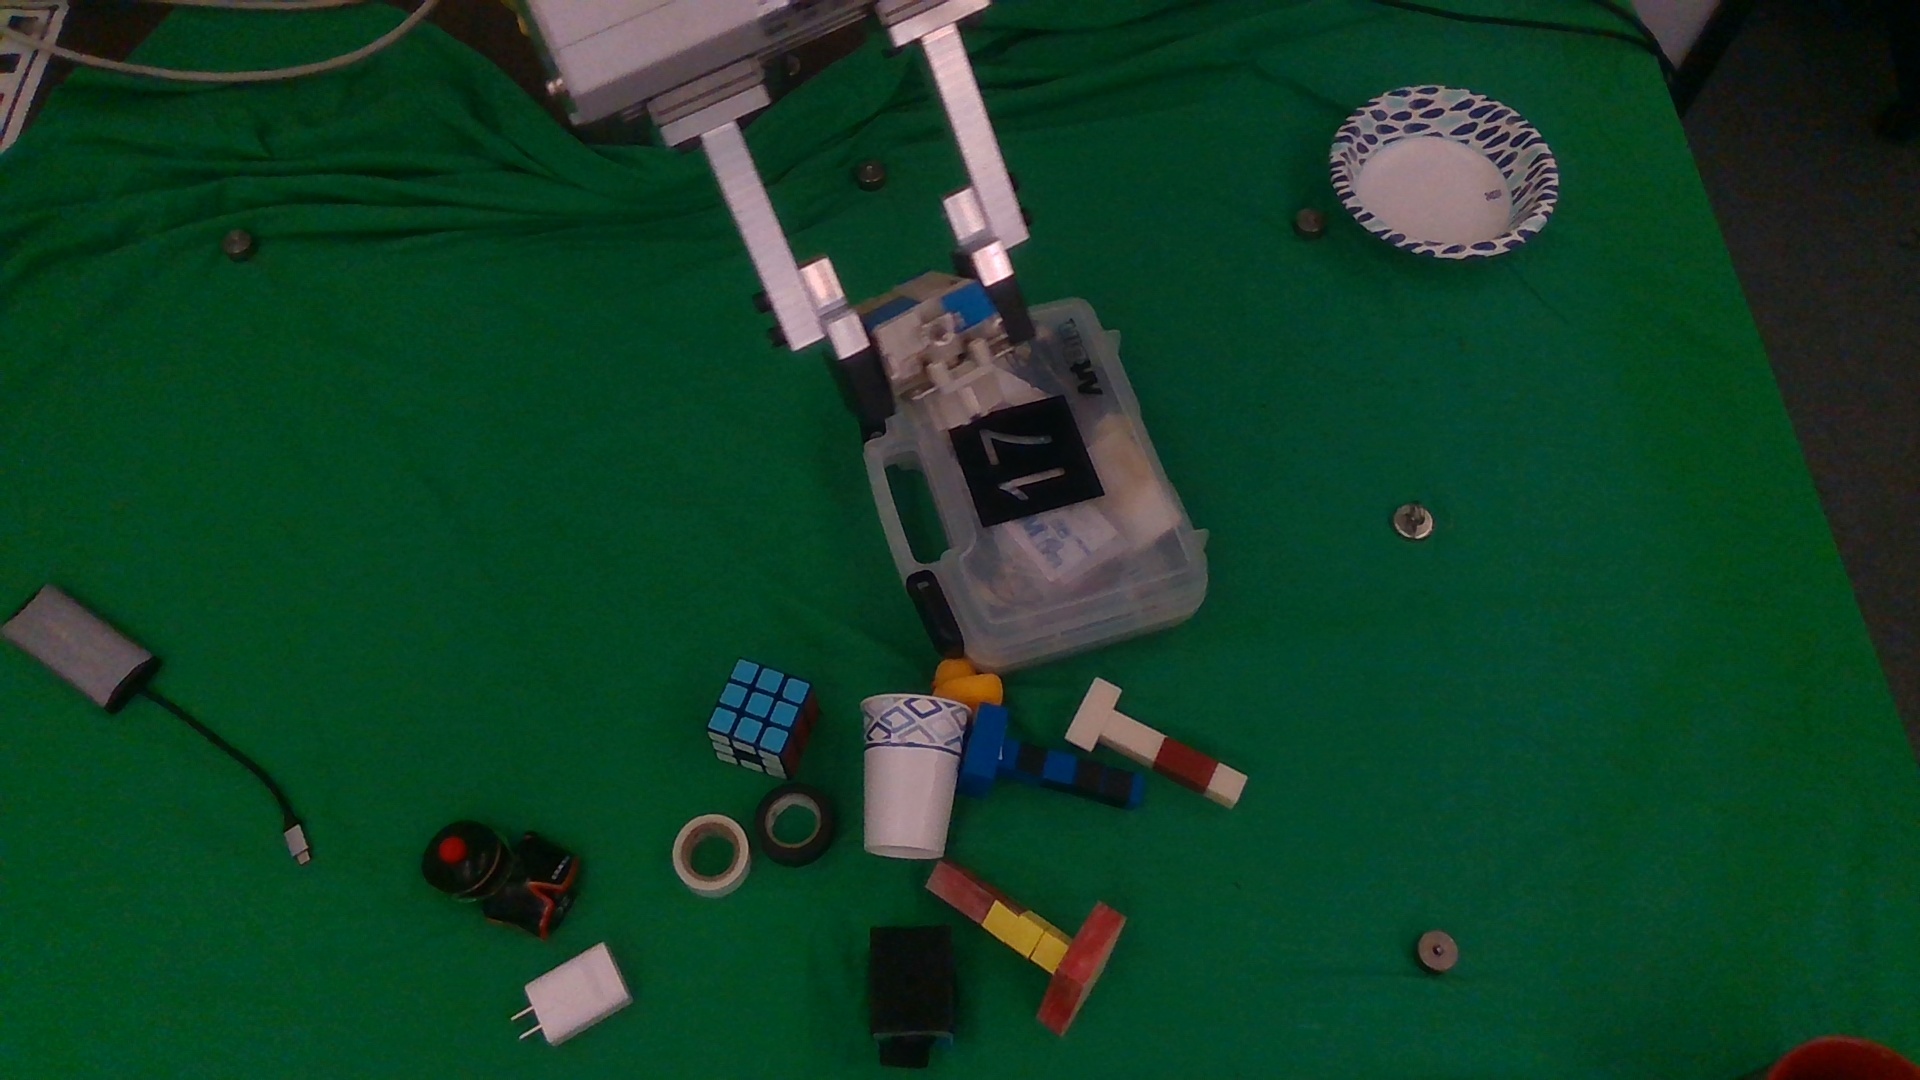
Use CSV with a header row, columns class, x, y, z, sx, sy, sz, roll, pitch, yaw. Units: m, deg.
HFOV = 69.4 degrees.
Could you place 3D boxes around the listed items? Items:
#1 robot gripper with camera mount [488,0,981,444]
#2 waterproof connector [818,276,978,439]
class,x,y,z,sx,sy,sz,roll,pitch,yaw
robot gripper with camera mount,-0.077,-0.122,0.430,0.119,0.158,0.194,-24,22,-18
waterproof connector,-0.018,-0.052,0.396,0.035,0.037,0.065,-22,20,-7
